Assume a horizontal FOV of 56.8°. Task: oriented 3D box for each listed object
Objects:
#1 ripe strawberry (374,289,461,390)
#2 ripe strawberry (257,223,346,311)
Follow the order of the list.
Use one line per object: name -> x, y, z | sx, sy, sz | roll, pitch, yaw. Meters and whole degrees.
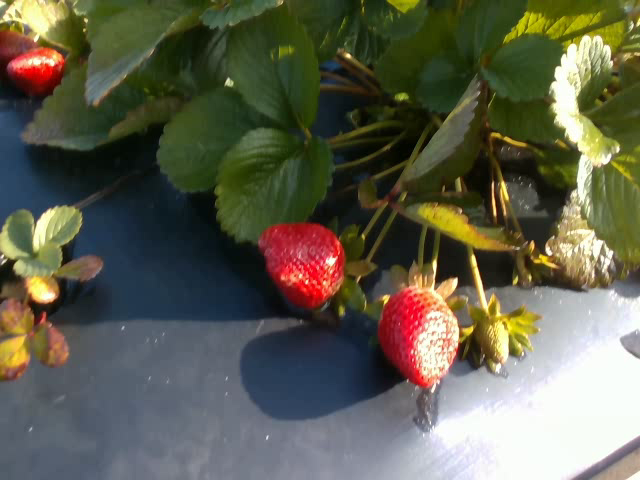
ripe strawberry -> 0.045, 0.043, 0.260 | 0.043, 0.039, 0.053 | 25, 30, -7
ripe strawberry -> -0.009, 0.011, 0.292 | 0.054, 0.048, 0.039 | 6, -19, -38
